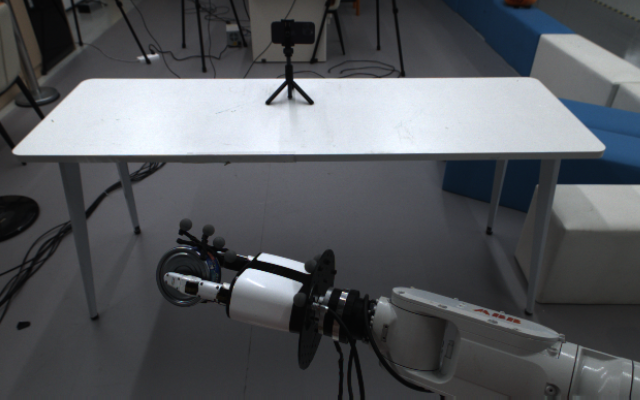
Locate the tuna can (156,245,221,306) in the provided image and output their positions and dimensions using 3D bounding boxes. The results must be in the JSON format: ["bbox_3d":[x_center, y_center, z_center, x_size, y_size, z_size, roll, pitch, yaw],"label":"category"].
[{"bbox_3d":[-0.183,0.106,0.677,0.085,0.085,0.034,12,4,14],"label":"tuna can"}]
